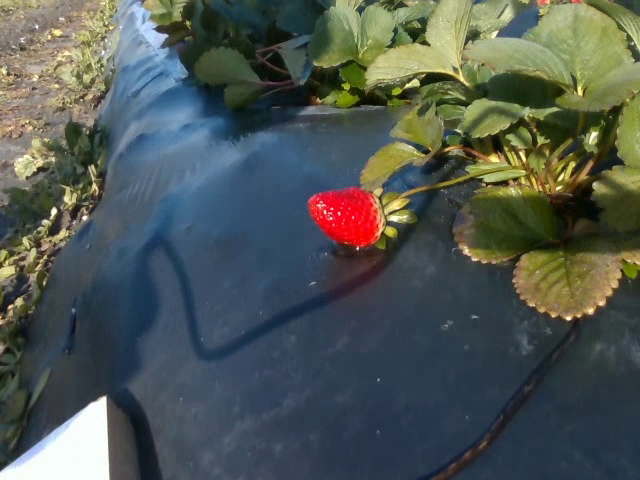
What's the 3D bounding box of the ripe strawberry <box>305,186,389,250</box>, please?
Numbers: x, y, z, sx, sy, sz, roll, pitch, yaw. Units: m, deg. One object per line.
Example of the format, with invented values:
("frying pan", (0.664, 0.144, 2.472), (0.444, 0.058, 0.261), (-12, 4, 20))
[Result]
("ripe strawberry", (0.009, -0.010, 0.244), (0.041, 0.031, 0.028), (20, -12, -38))
